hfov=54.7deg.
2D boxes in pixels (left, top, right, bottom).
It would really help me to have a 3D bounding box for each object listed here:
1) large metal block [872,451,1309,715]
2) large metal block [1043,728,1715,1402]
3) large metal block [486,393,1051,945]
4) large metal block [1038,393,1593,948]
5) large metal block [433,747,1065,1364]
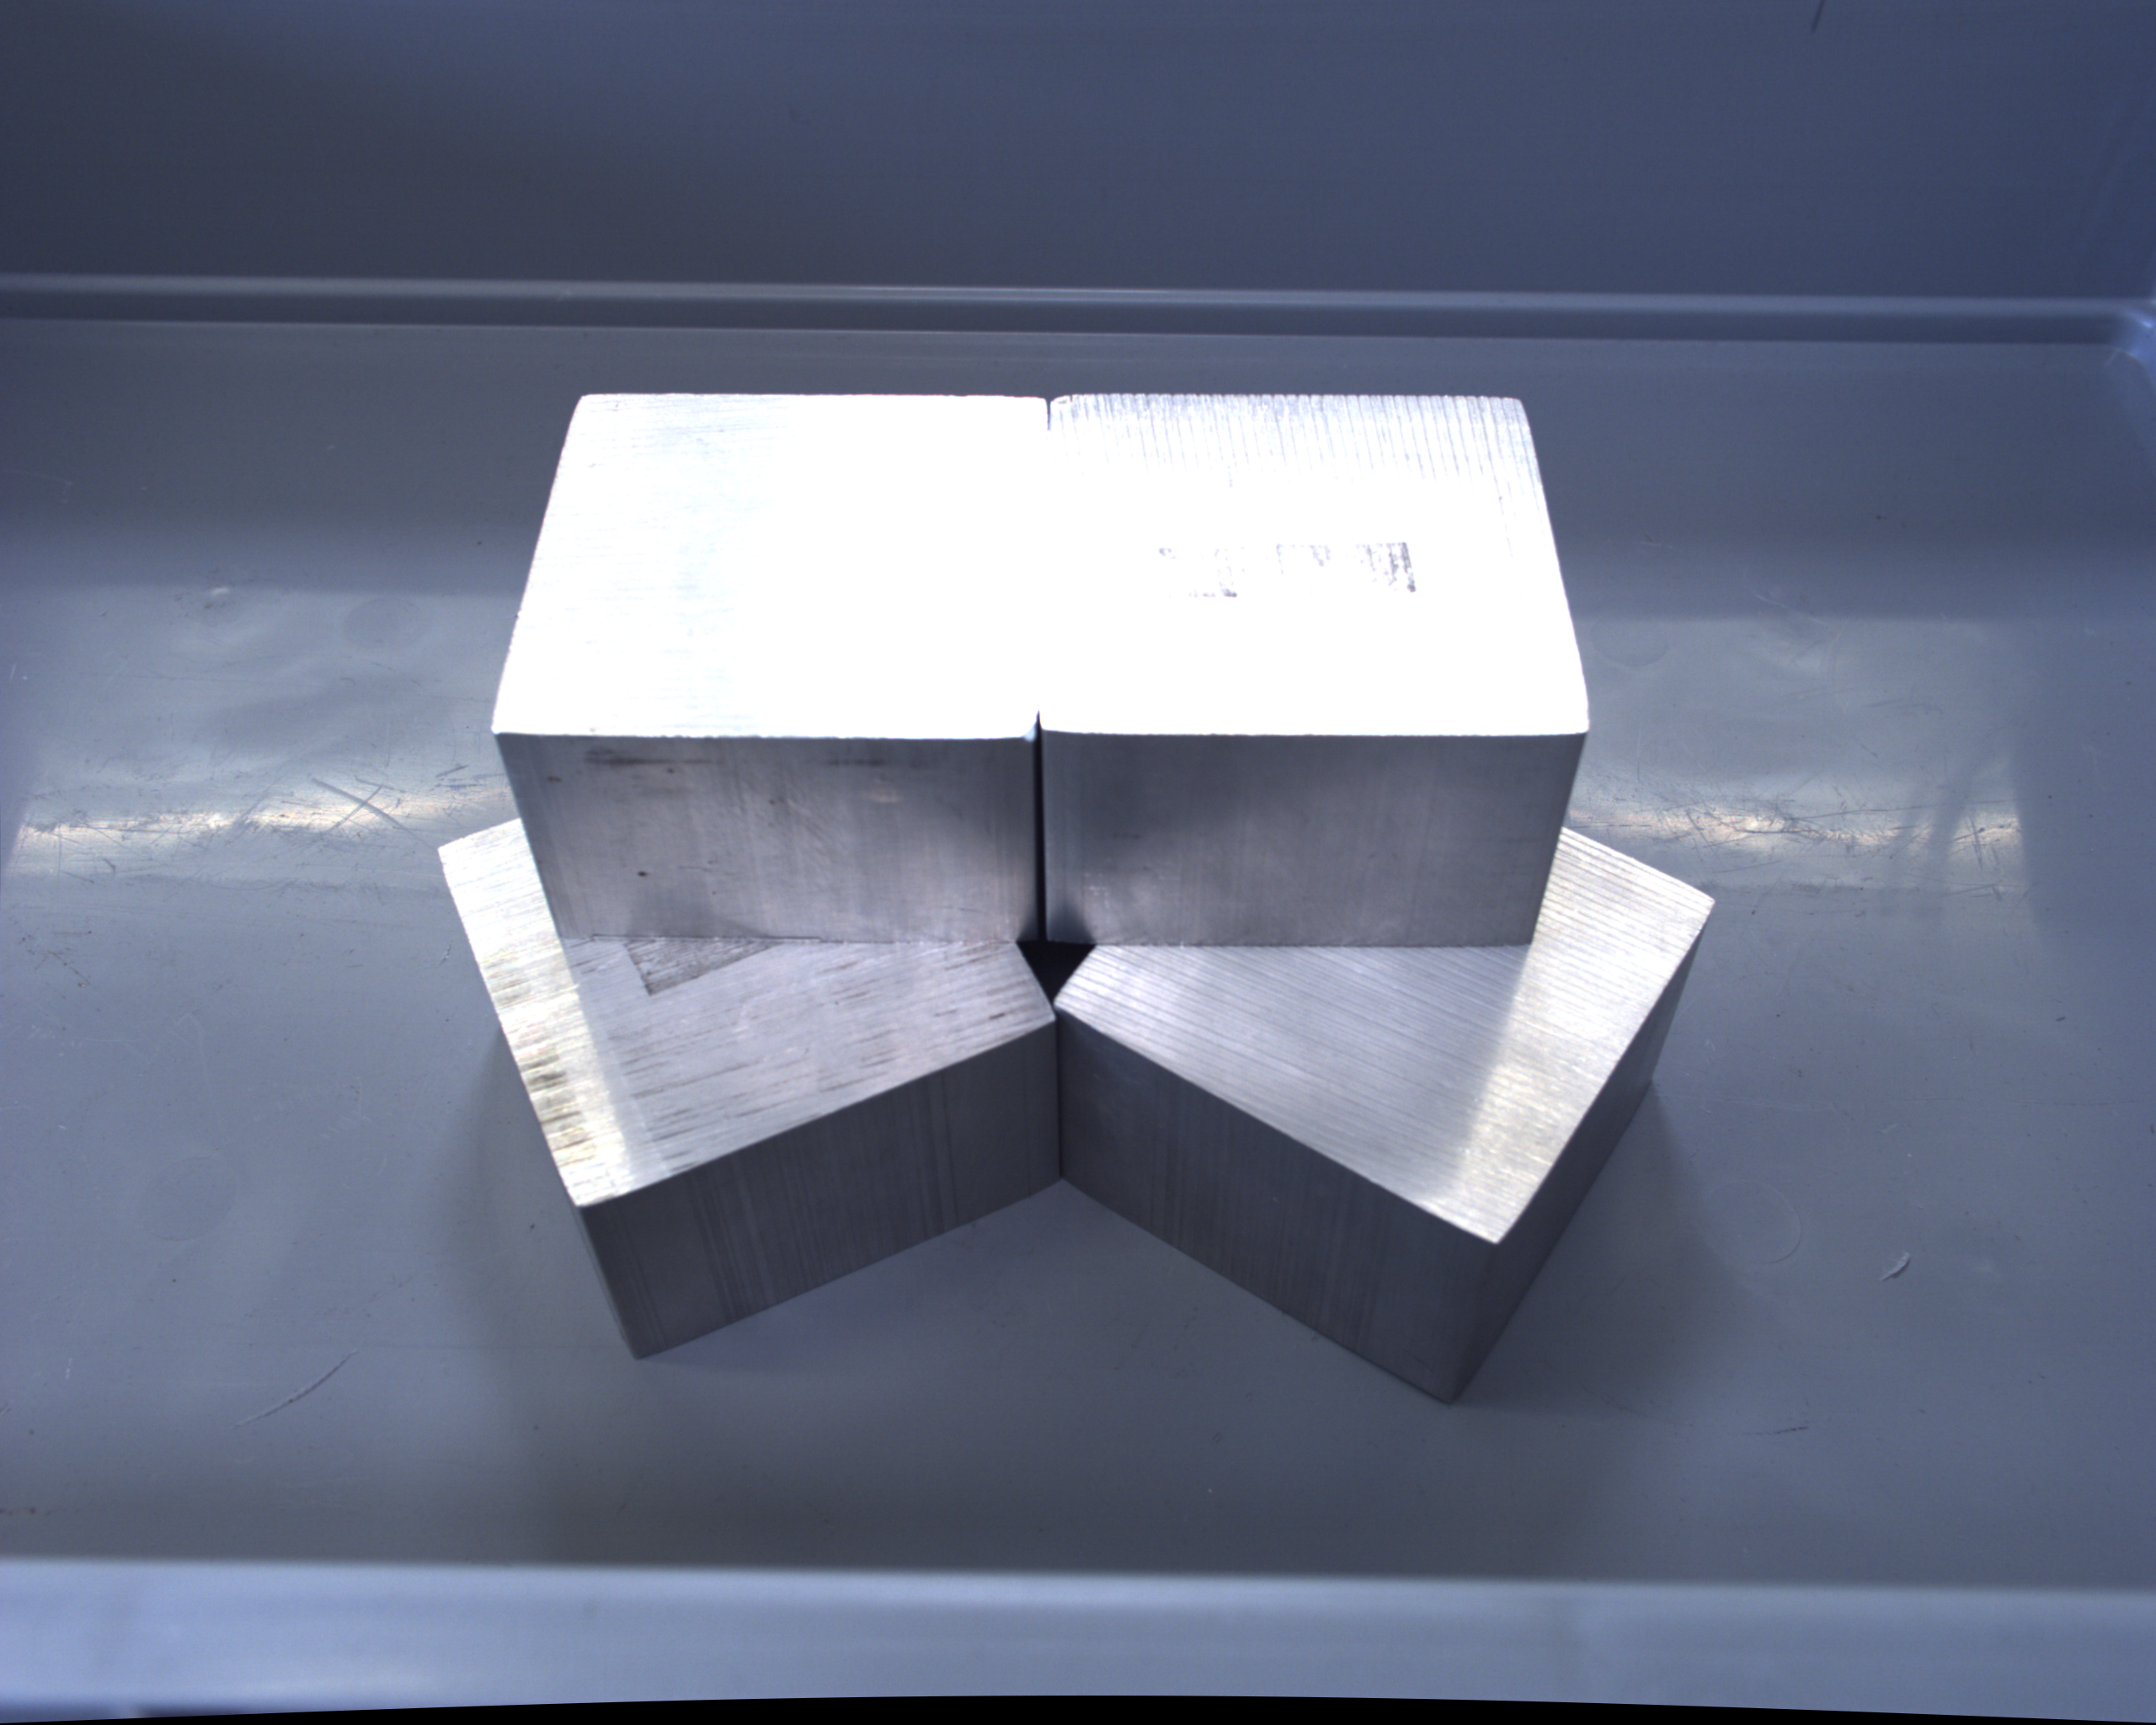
[{"bbox_3d":[0.003,-0.042,0.422,0.080,0.050,0.080,1,50,1],"label":"large metal block"},{"bbox_3d":[0.051,0.031,0.360,0.080,0.050,0.080,27,55,21],"label":"large metal block"},{"bbox_3d":[-0.046,-0.033,0.349,0.080,0.050,0.080,1,50,0],"label":"large metal block"},{"bbox_3d":[0.035,-0.033,0.348,0.080,0.050,0.080,1,50,0],"label":"large metal block"},{"bbox_3d":[-0.056,0.027,0.364,0.081,0.050,0.080,-21,53,-17],"label":"large metal block"}]
